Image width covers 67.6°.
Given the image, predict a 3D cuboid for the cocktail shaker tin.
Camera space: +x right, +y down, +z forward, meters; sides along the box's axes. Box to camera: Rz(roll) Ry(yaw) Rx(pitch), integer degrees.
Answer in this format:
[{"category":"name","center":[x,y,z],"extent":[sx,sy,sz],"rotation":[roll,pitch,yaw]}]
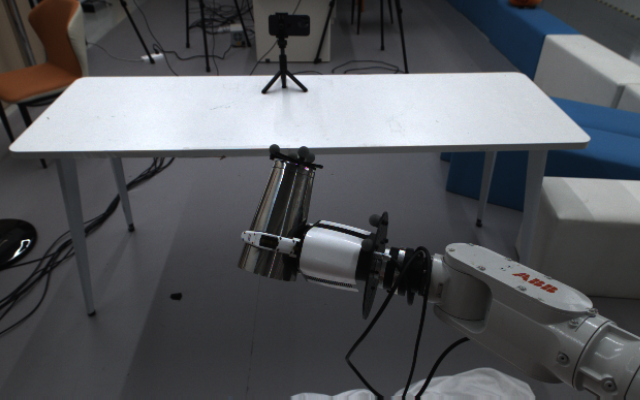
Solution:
[{"category":"cocktail shaker tin","center":[-0.061,0.030,0.742],"extent":[0.093,0.170,0.093],"rotation":[15,-4,1]}]
